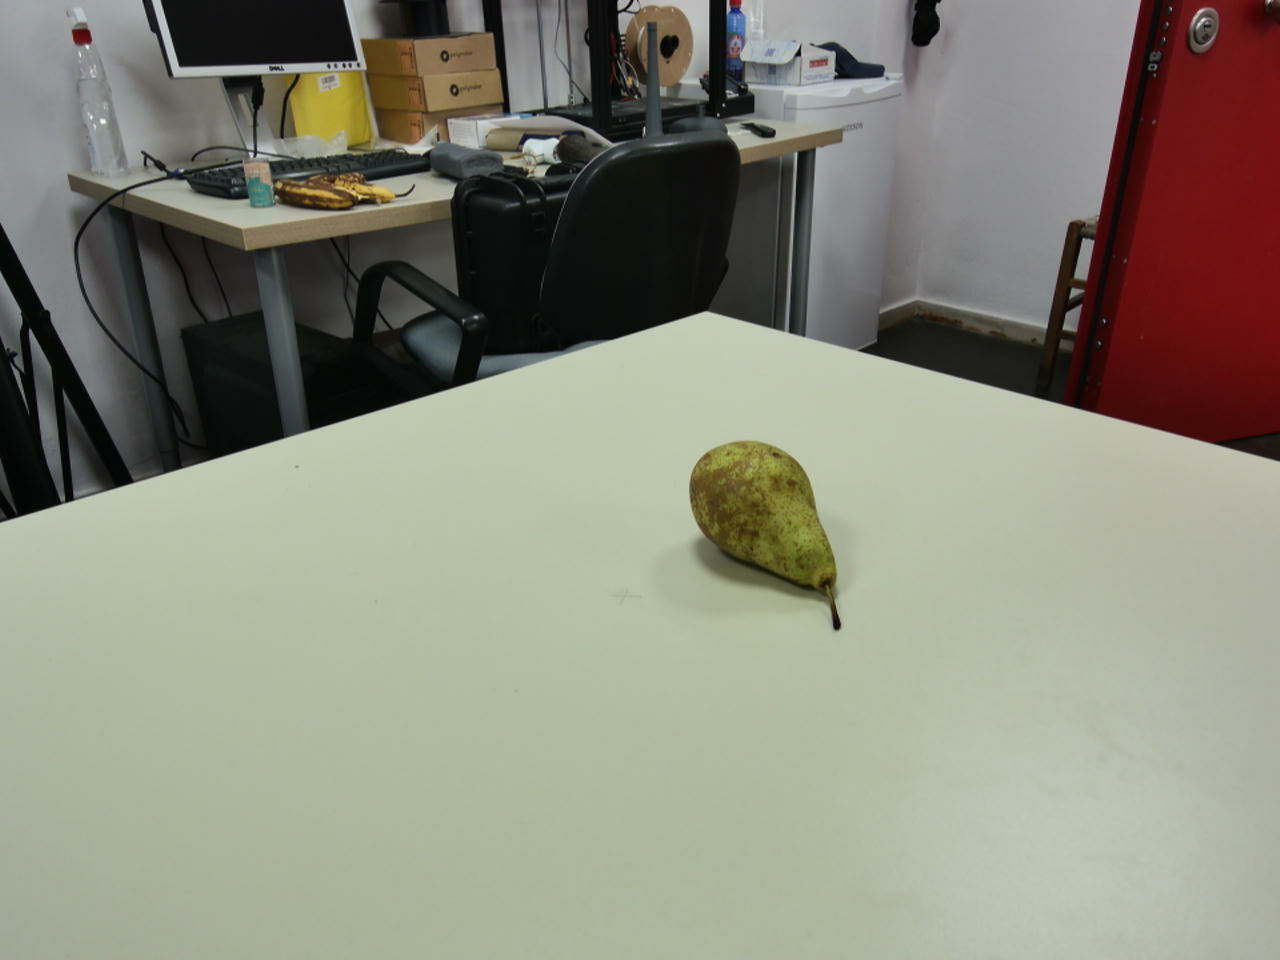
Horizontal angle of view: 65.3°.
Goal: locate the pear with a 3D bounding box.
[{"bbox_3d":[0.083,0.020,0.598,0.128,0.075,0.071,20,31,35],"label":"pear"}]
